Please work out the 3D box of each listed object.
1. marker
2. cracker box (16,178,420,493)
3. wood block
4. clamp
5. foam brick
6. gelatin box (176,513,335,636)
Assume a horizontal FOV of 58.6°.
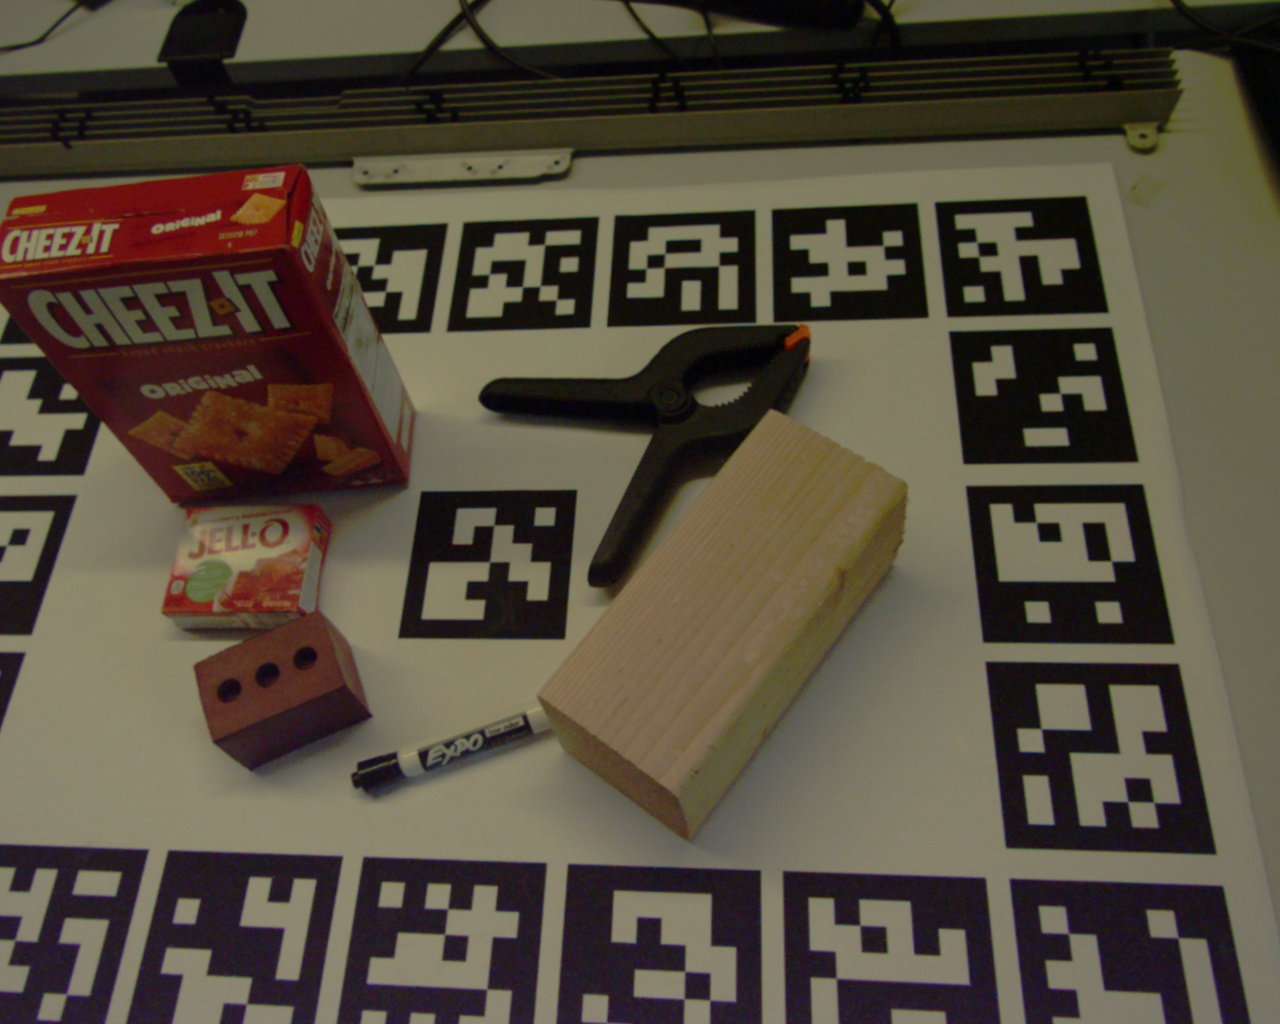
[{"bbox_3d":[-0.120,0.138,0.664,0.121,0.019,0.020,-19,63,-2],"label":"marker"},{"bbox_3d":[-0.239,-0.095,0.690,0.164,0.212,0.072,-4,61,3],"label":"cracker box"},{"bbox_3d":[0.040,0.062,0.647,0.091,0.090,0.205,31,68,23],"label":"wood block"},{"bbox_3d":[0.009,-0.060,0.741,0.202,0.036,0.167,-29,63,-7],"label":"clamp"},{"bbox_3d":[-0.210,0.106,0.677,0.078,0.051,0.053,-23,64,-4],"label":"foam brick"},{"bbox_3d":[-0.246,0.040,0.732,0.090,0.030,0.073,-2,64,7],"label":"gelatin box"}]
